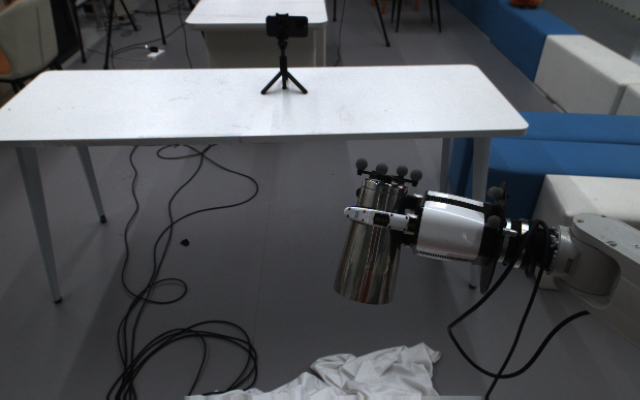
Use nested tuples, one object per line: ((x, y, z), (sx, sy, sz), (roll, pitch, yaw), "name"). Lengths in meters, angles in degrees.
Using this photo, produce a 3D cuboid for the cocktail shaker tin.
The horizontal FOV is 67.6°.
((0.084, 0.054, 0.717), (0.093, 0.170, 0.093), (10, 9, -2), "cocktail shaker tin")
